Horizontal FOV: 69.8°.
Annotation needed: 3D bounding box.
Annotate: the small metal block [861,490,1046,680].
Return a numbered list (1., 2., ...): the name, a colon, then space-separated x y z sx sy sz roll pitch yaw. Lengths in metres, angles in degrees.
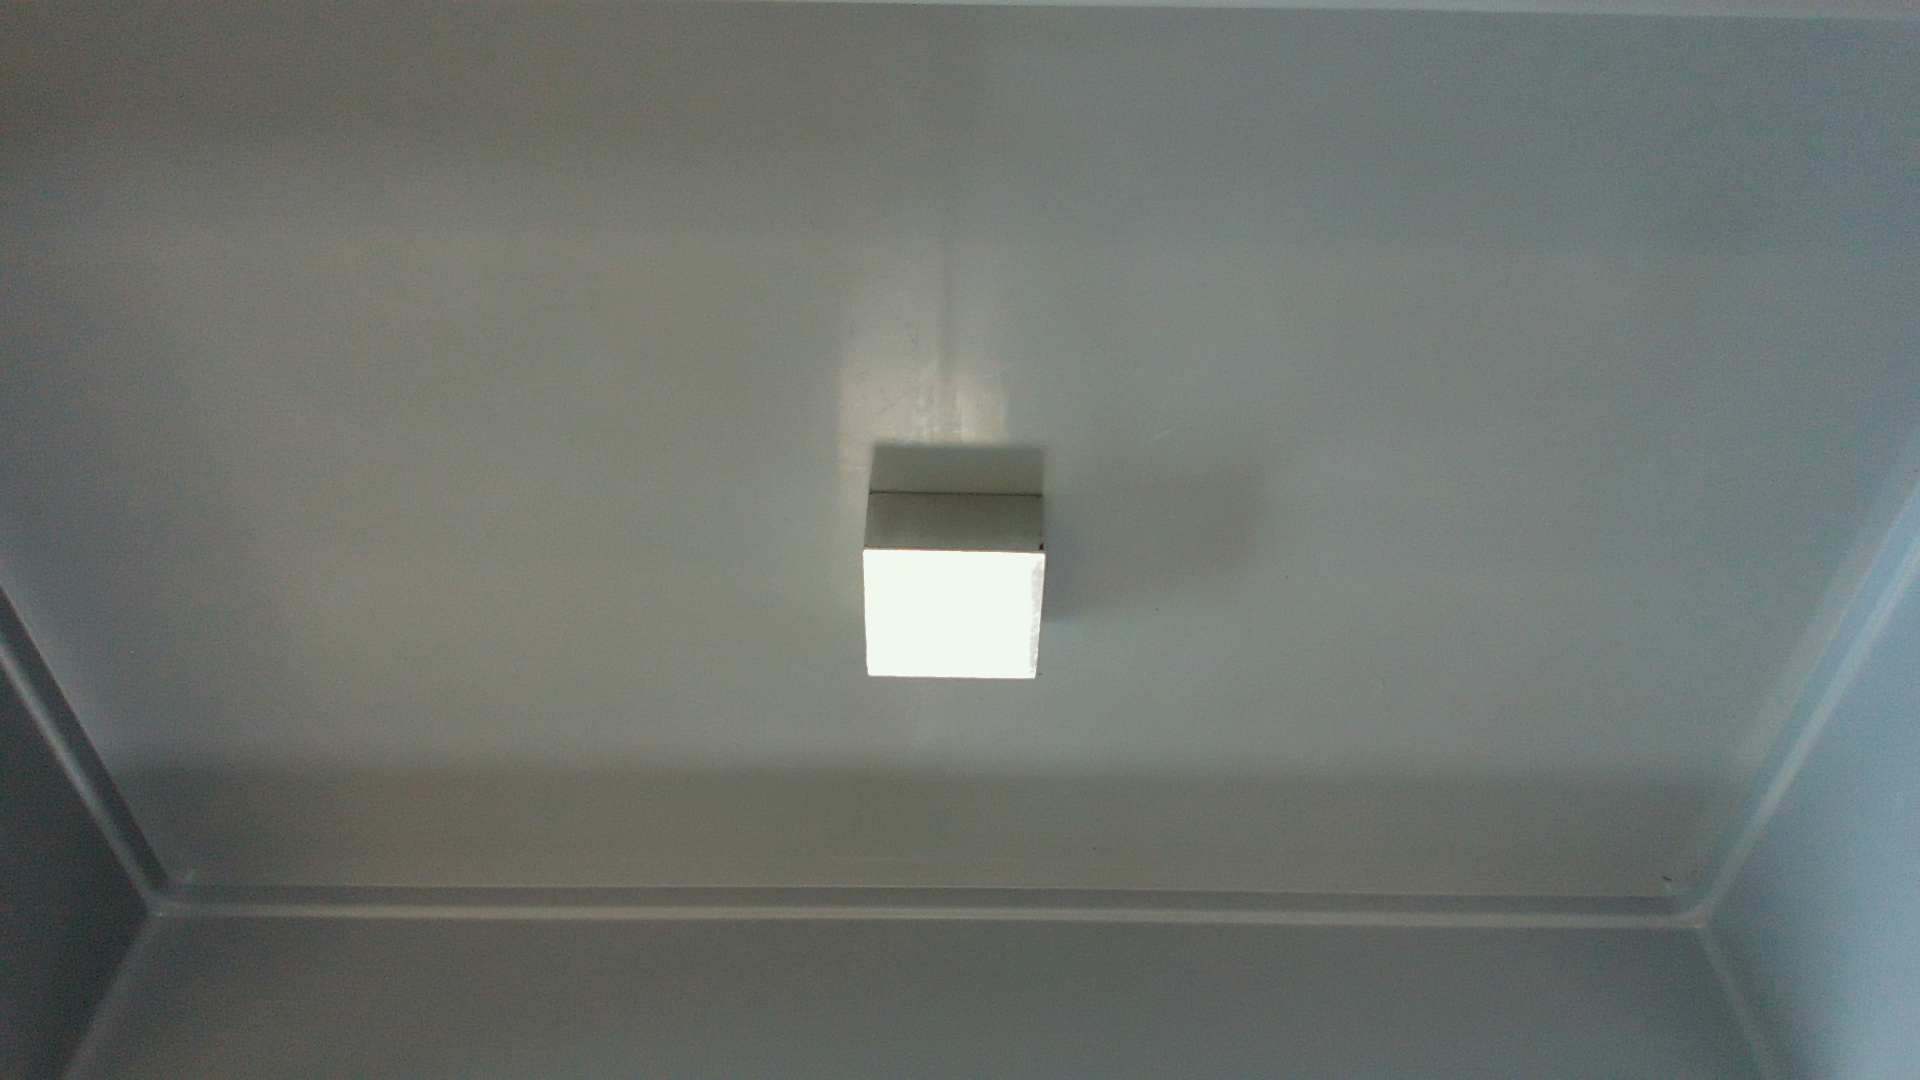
1. small metal block: -0.002 0.014 0.398 0.050 0.025 0.050 1 130 -1
